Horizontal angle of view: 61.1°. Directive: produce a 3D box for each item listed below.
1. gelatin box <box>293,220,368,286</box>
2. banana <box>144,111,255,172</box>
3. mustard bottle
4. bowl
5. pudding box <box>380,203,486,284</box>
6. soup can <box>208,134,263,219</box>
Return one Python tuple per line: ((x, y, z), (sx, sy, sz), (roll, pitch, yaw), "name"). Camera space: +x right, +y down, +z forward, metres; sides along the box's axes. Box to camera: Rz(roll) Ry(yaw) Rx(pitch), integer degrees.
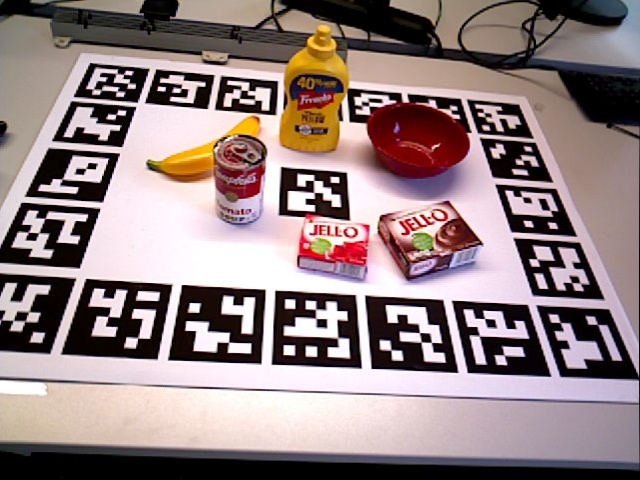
((0.014, 0.015, 0.695), (0.089, 0.031, 0.072), (9, 52, 0), "gelatin box")
((-0.159, -0.145, 0.803), (0.074, 0.040, 0.193), (31, 51, 30), "banana")
((-0.003, -0.222, 0.775), (0.095, 0.196, 0.057), (5, 45, -6), "mustard bottle")
((0.155, -0.140, 0.840), (0.160, 0.056, 0.159), (3, 48, -4), "bowl")
((0.149, 0.002, 0.721), (0.112, 0.039, 0.089), (-15, 58, -20), "pudding box")
((-0.111, -0.086, 0.702), (0.067, 0.104, 0.067), (6, 47, -7), "soup can")
